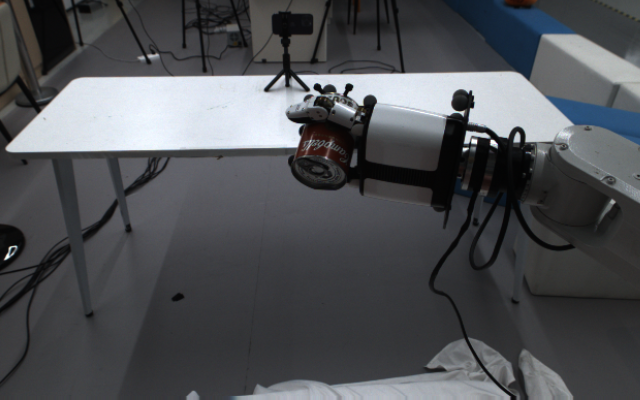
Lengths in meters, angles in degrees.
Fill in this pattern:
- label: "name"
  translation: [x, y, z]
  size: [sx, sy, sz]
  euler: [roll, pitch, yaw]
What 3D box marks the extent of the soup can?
- label: "soup can"
  translation: [0.011, -0.072, 0.586]
  size: [0.067, 0.067, 0.101]
  euler: [9, 58, 10]
